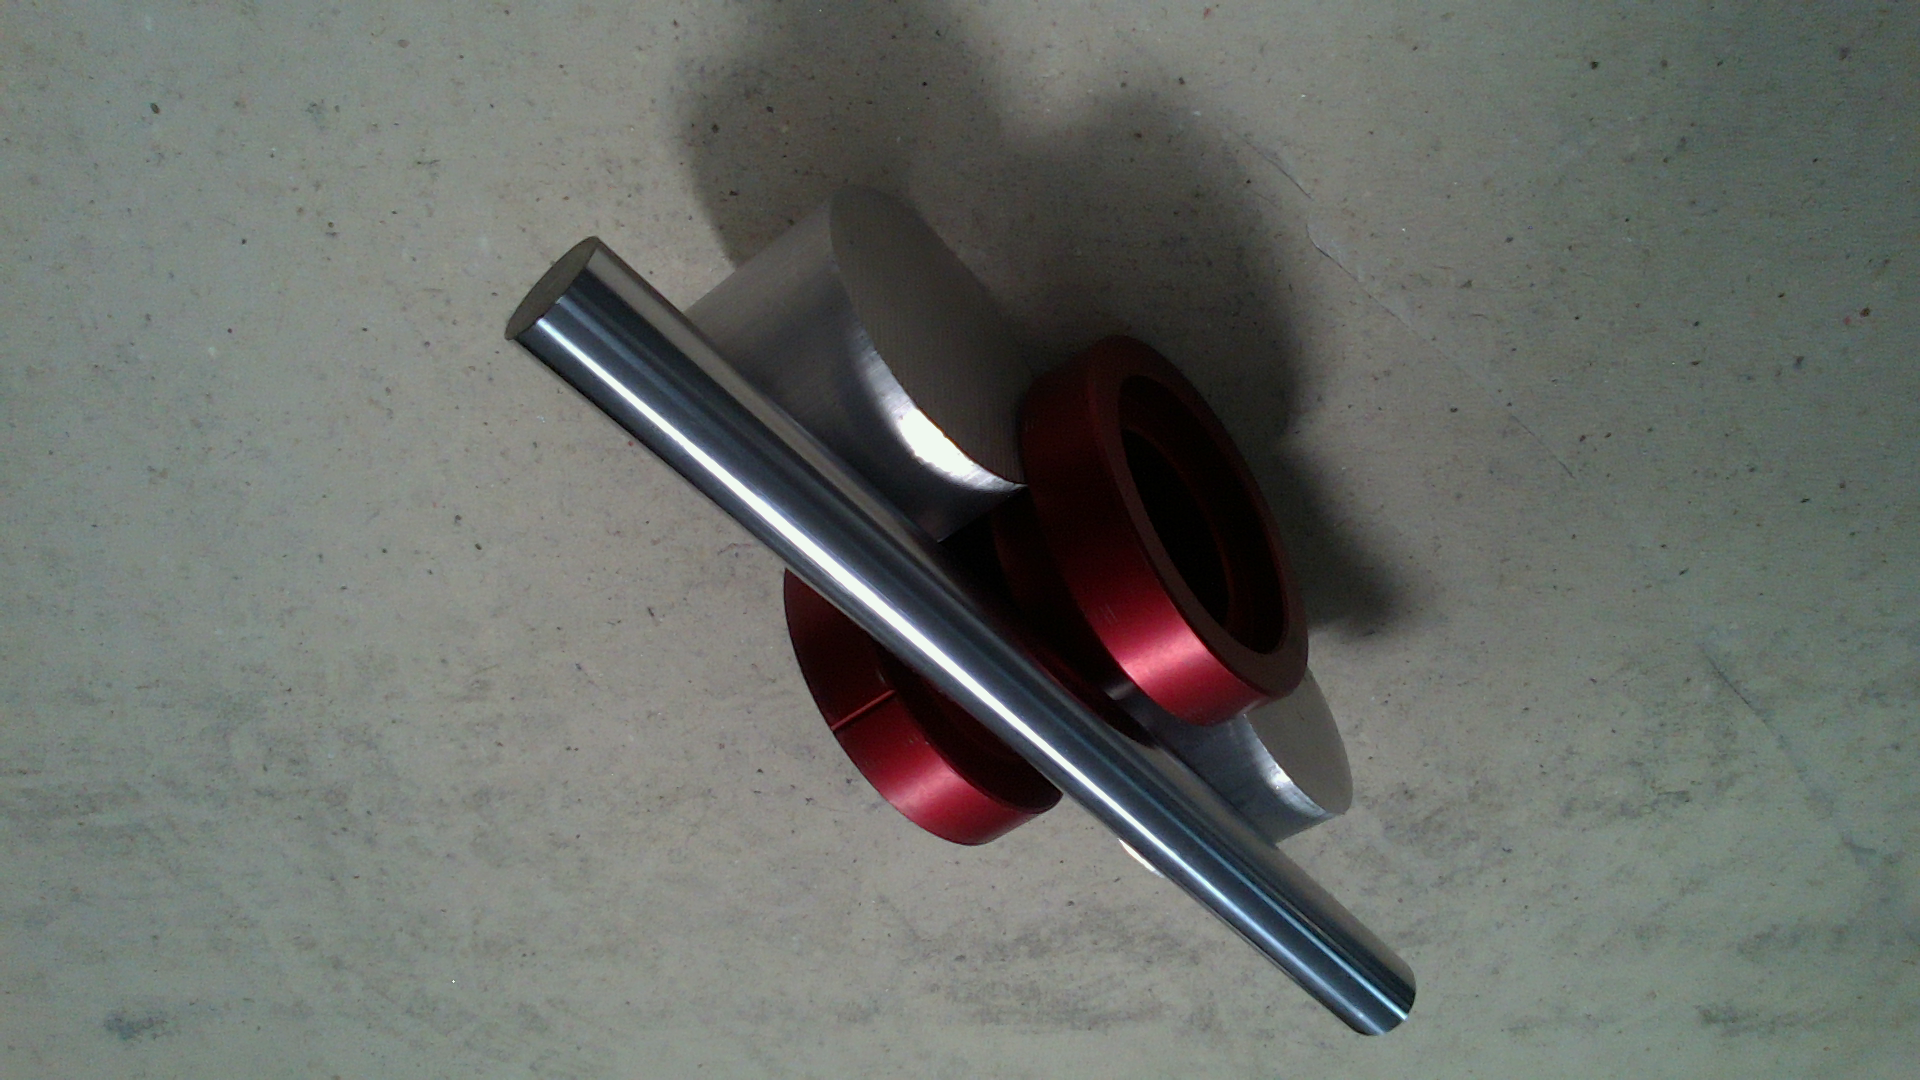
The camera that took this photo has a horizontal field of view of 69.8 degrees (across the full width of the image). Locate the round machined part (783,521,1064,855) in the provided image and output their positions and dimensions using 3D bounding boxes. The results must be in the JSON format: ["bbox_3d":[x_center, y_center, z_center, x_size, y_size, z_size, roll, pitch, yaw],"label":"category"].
[{"bbox_3d":[0.002,0.030,0.367,0.042,0.098,0.098,-34,122,21],"label":"round machined part"}]

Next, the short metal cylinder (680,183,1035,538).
[{"bbox_3d":[-0.023,-0.036,0.324,0.050,0.080,0.080,-32,123,24],"label":"short metal cylinder"}]

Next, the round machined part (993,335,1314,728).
[{"bbox_3d":[0.045,0.002,0.345,0.042,0.098,0.098,-29,125,28],"label":"round machined part"}]

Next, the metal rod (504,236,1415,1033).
[{"bbox_3d":[0.023,0.042,0.322,0.025,0.025,0.301,-33,123,24],"label":"metal rod"}]

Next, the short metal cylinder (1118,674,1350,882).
[{"bbox_3d":[0.070,0.052,0.399,0.050,0.080,0.080,-32,123,24],"label":"short metal cylinder"}]
